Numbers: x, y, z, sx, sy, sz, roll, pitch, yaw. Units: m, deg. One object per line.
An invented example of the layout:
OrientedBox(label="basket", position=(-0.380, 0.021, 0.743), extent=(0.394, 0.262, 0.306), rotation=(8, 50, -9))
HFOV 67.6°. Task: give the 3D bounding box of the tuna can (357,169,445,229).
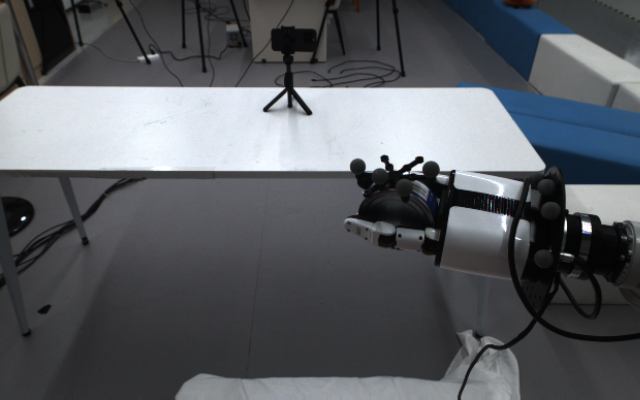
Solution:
OrientedBox(label="tuna can", position=(0.091, 0.012, 0.549), extent=(0.085, 0.085, 0.034), rotation=(14, 41, 16))
